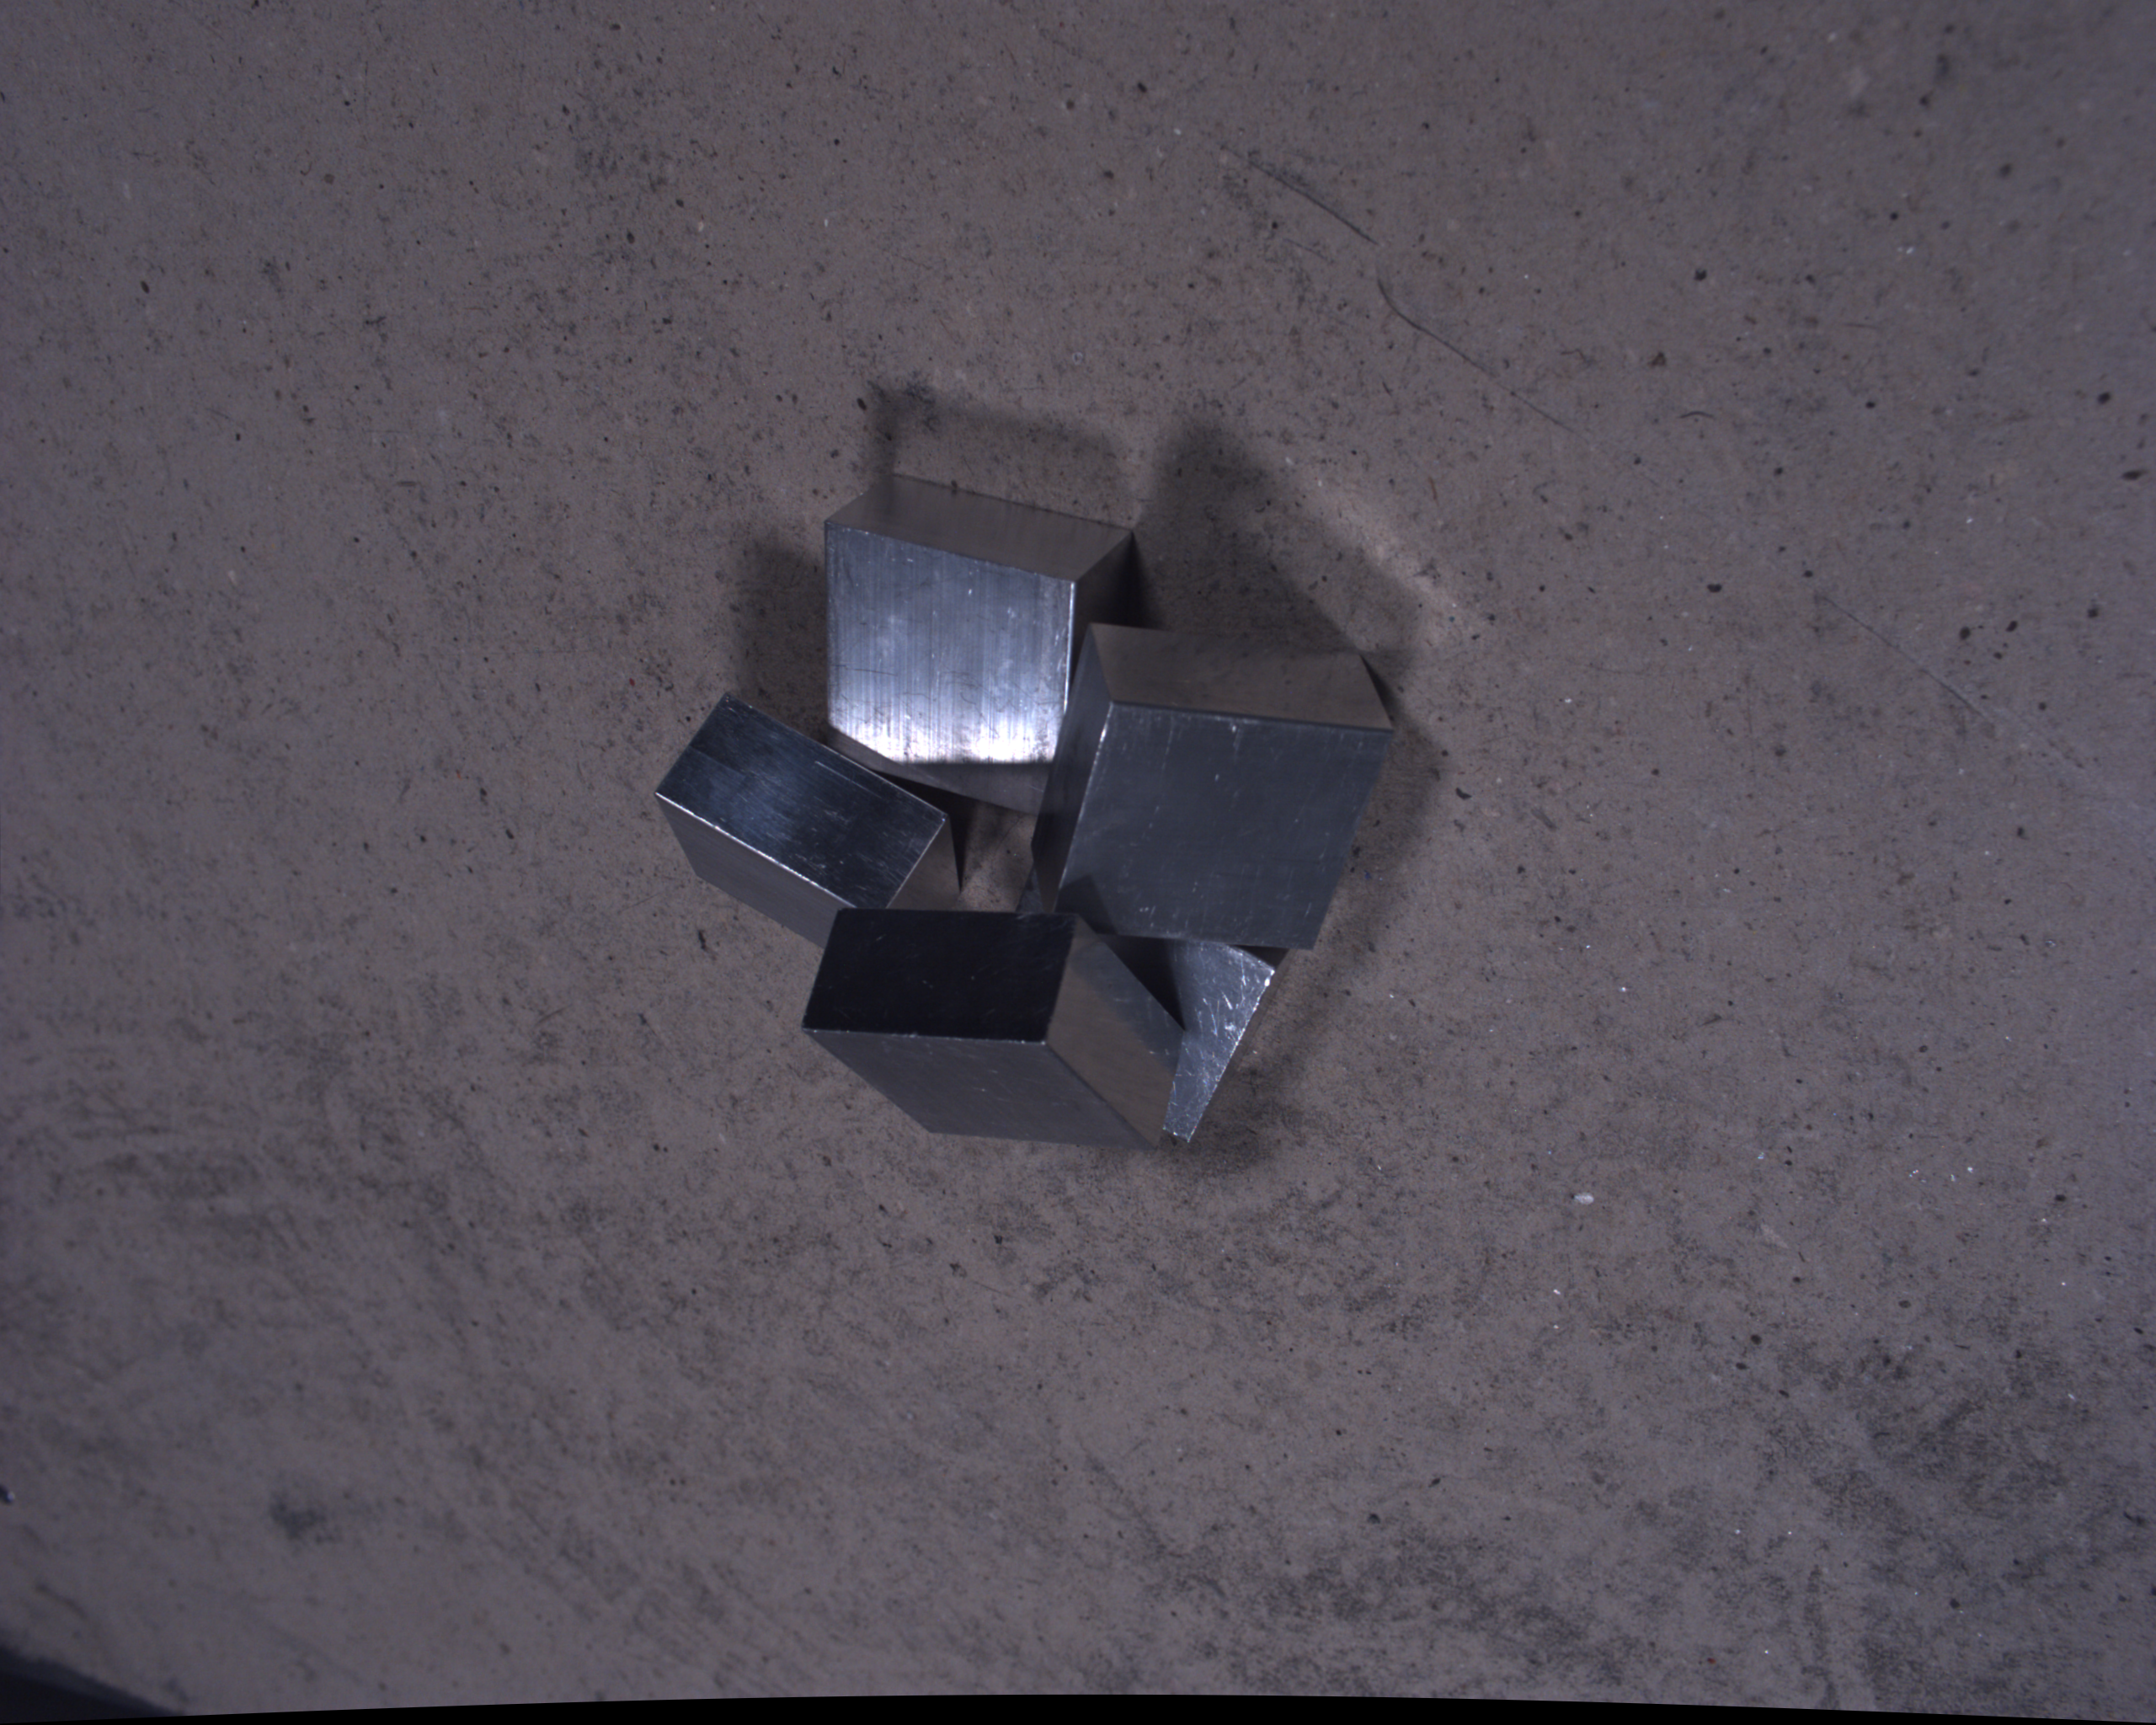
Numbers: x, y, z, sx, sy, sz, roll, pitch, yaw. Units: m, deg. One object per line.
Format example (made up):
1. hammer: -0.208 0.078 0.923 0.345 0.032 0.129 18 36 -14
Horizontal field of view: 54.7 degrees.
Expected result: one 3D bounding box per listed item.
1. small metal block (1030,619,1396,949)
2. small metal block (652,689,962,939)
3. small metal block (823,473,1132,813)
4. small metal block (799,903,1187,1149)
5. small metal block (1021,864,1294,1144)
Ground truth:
1. small metal block: 0.023 -0.013 0.373 0.050 0.025 0.050 5 128 -15
2. small metal block: -0.052 -0.004 0.417 0.050 0.025 0.050 29 164 8
3. small metal block: -0.019 -0.041 0.392 0.050 0.025 0.050 16 125 18
4. small metal block: -0.015 0.030 0.386 0.050 0.025 0.050 0 151 28
5. small metal block: 0.013 0.020 0.413 0.050 0.025 0.050 29 128 9
